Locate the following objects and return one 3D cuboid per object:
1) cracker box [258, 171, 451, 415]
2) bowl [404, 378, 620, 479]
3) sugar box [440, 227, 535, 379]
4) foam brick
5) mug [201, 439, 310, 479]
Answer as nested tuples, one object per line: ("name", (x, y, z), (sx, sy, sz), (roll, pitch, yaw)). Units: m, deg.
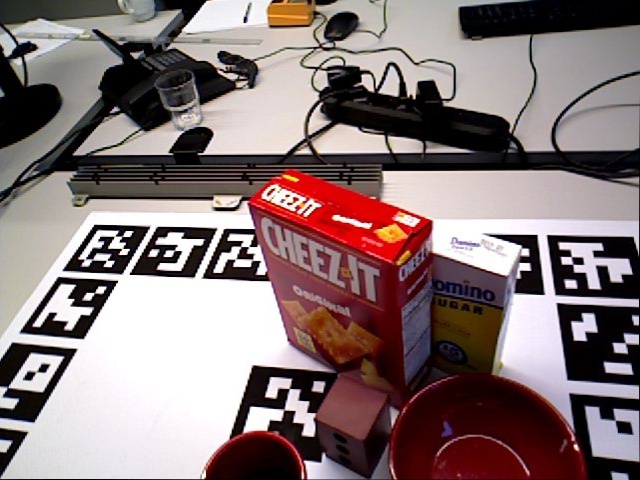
("cracker box", (0.032, 0.053, 0.525), (0.164, 0.218, 0.070), (26, 52, 32))
("bowl", (0.152, 0.197, 0.447), (0.161, 0.056, 0.159), (-7, 44, 6))
("sugar box", (0.145, 0.060, 0.518), (0.093, 0.180, 0.044), (18, 50, 28))
("foam brick", (0.039, 0.176, 0.502), (0.053, 0.079, 0.050), (13, 47, 25))
("mug", (-0.059, 0.230, 0.452), (0.117, 0.083, 0.091), (-6, 35, 9))
